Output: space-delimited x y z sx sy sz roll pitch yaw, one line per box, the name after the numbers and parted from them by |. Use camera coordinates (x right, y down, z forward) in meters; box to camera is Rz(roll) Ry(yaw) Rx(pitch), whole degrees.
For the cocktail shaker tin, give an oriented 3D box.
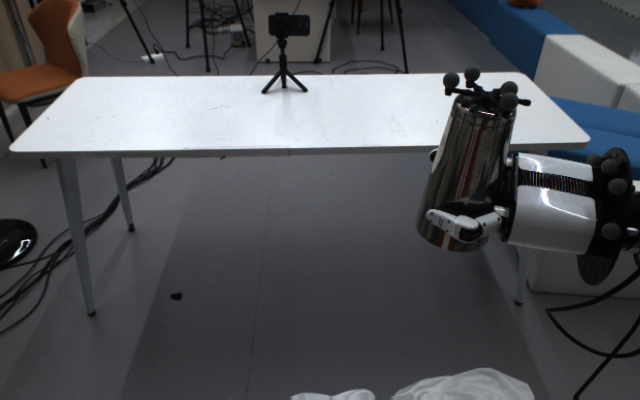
0.174 -0.035 0.569 0.093 0.170 0.093 3 34 -2 | cocktail shaker tin
